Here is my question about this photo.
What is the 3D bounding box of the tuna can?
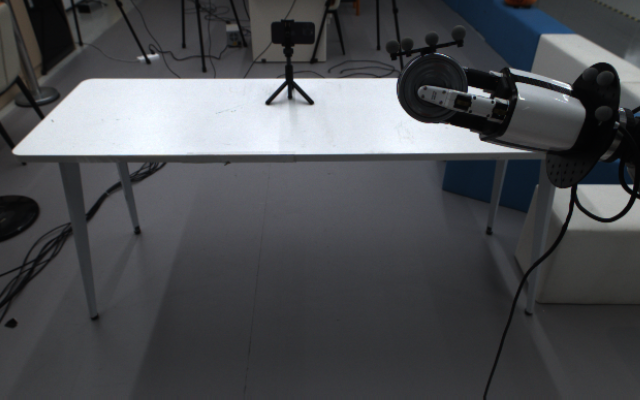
[{"bbox_3d":[0.141,-0.143,0.608,0.085,0.085,0.034,6,18,5],"label":"tuna can"}]
